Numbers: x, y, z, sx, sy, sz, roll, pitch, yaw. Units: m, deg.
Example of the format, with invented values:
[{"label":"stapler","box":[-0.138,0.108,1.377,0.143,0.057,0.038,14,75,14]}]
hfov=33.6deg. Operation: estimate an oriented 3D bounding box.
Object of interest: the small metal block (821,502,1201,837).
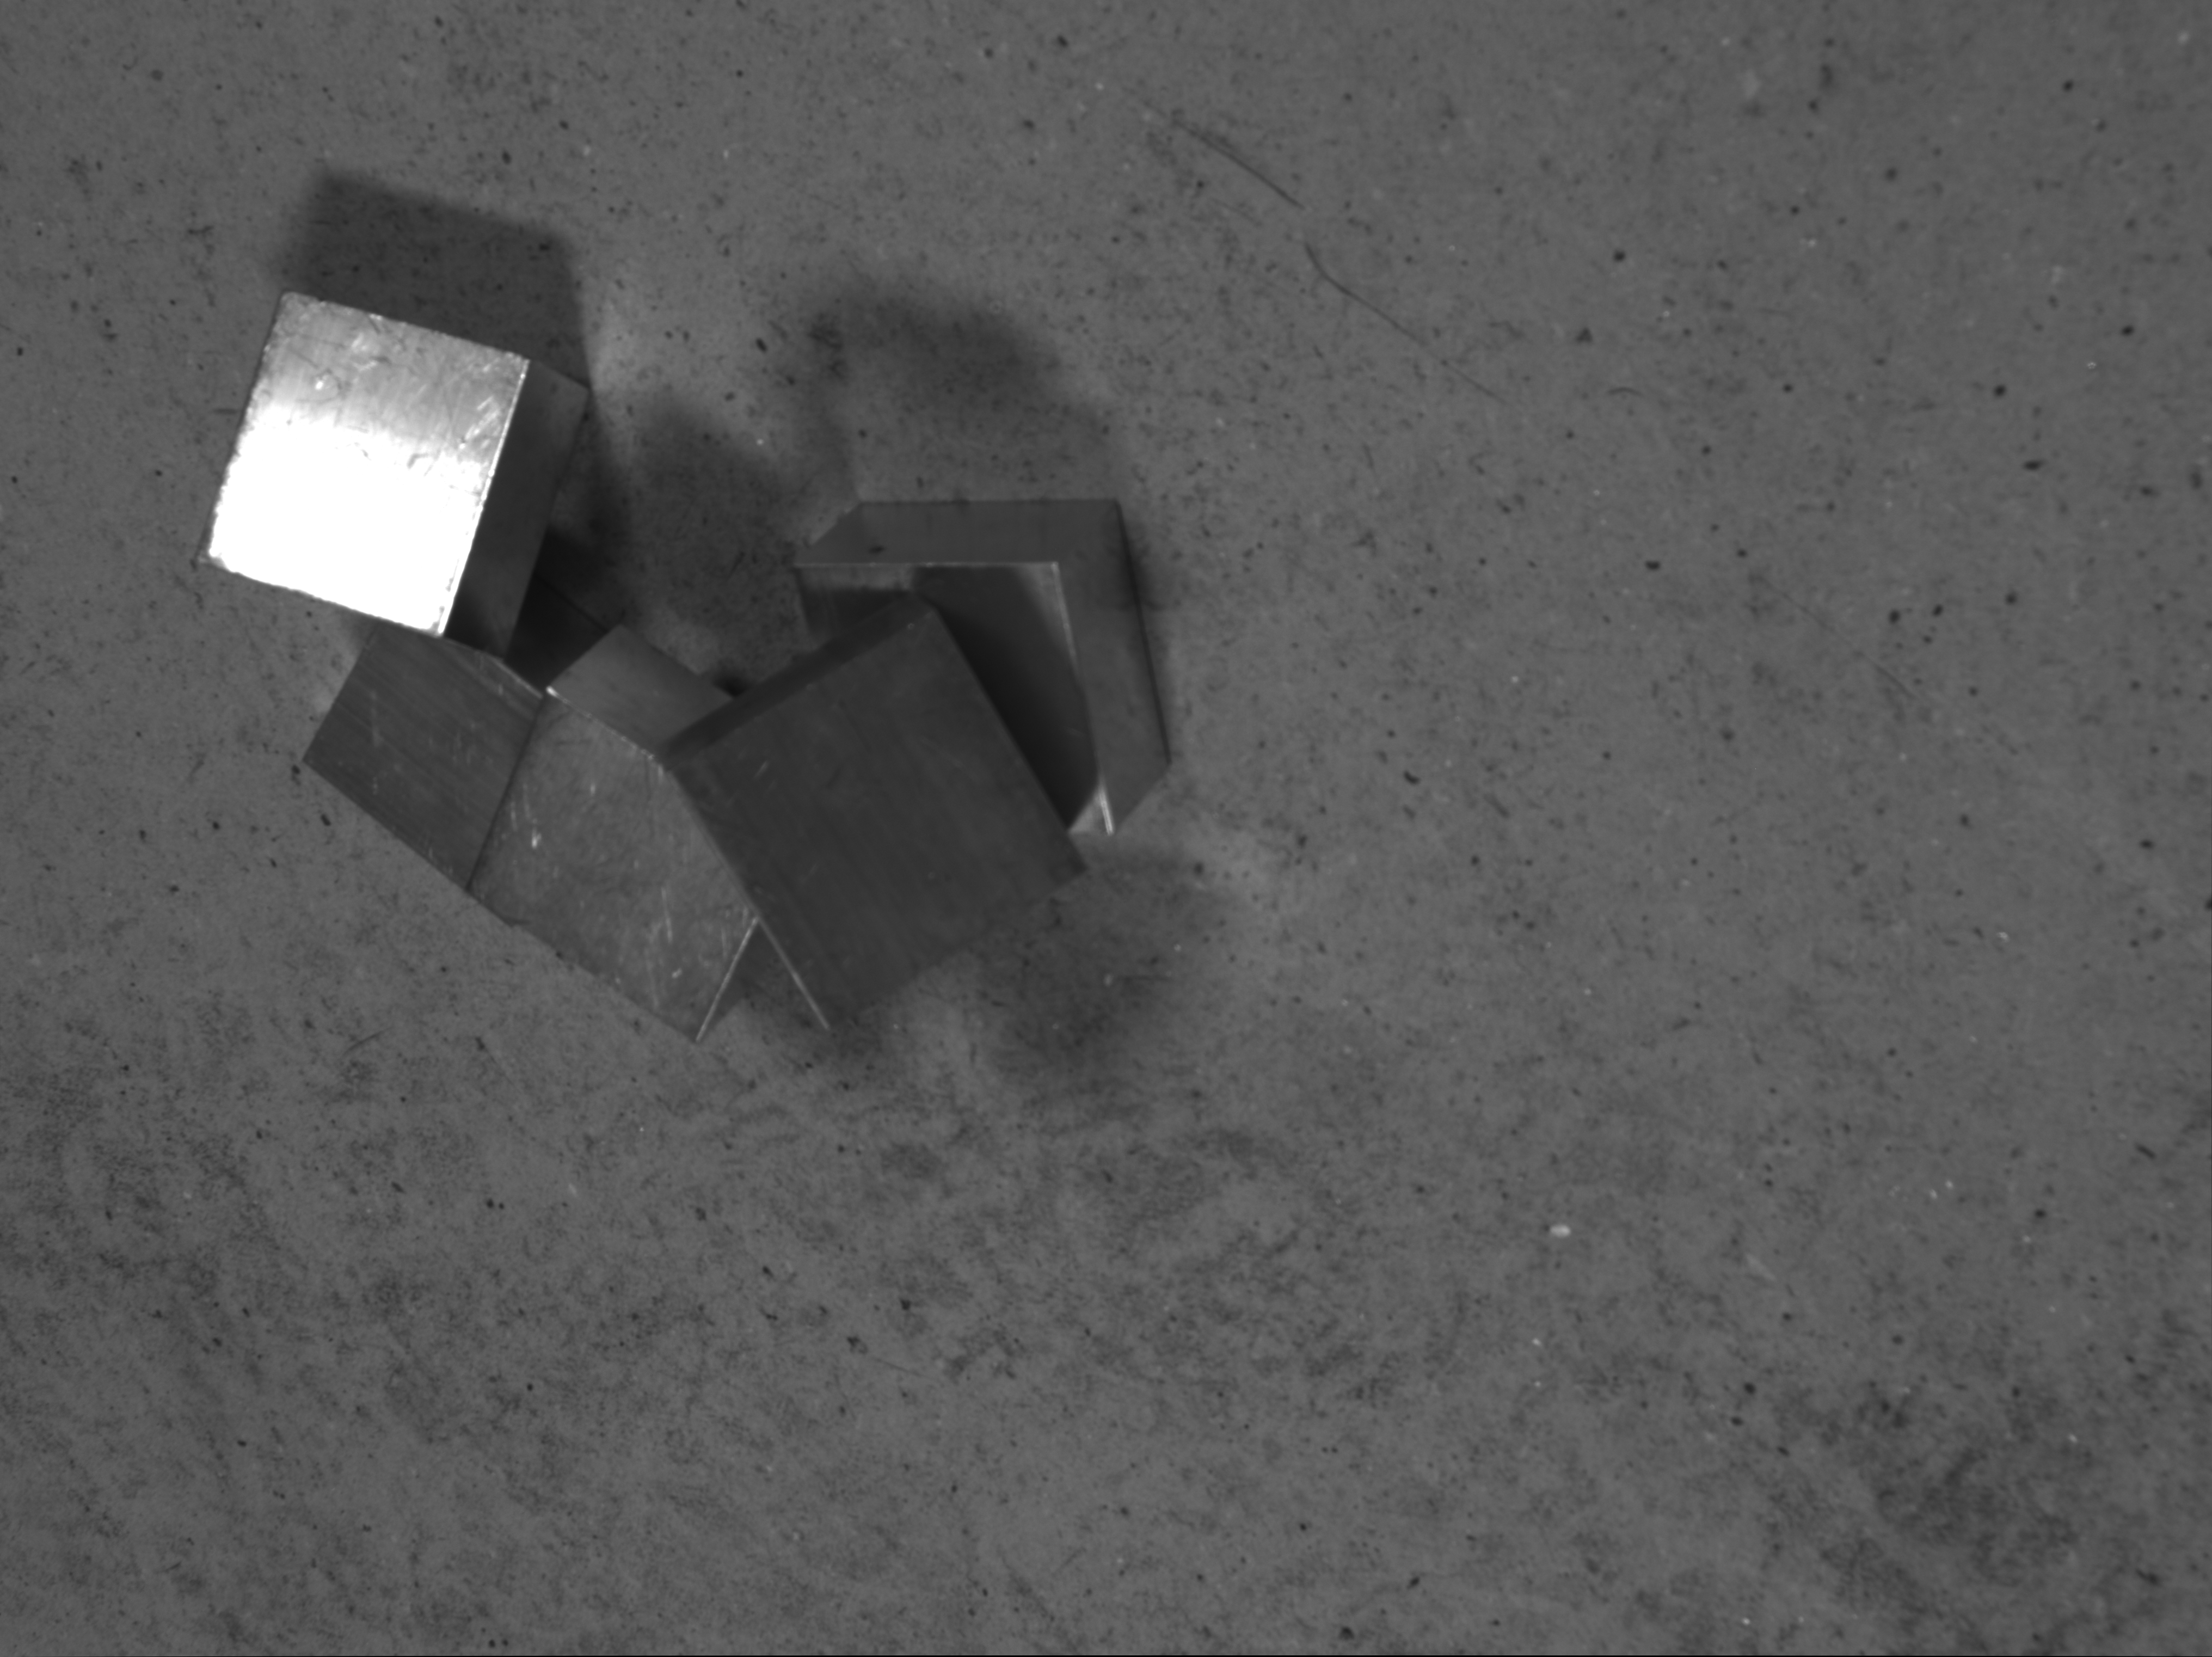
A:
[{"label":"small metal block","box":[-0.016,-0.027,0.623,0.050,0.025,0.050,2,119,26]}]

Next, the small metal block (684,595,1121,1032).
[{"label":"small metal block","box":[-0.033,-0.003,0.598,0.050,0.025,0.050,-31,105,-4]}]

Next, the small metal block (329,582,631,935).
[{"label":"small metal block","box":[-0.108,-0.017,0.674,0.050,0.025,0.050,39,128,1]}]

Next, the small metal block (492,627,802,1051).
[{"label":"small metal block","box":[-0.073,0.002,0.636,0.050,0.025,0.050,33,128,6]}]

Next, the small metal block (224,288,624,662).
[{"label":"small metal block","box":[-0.119,-0.061,0.639,0.050,0.025,0.050,17,88,17]}]
